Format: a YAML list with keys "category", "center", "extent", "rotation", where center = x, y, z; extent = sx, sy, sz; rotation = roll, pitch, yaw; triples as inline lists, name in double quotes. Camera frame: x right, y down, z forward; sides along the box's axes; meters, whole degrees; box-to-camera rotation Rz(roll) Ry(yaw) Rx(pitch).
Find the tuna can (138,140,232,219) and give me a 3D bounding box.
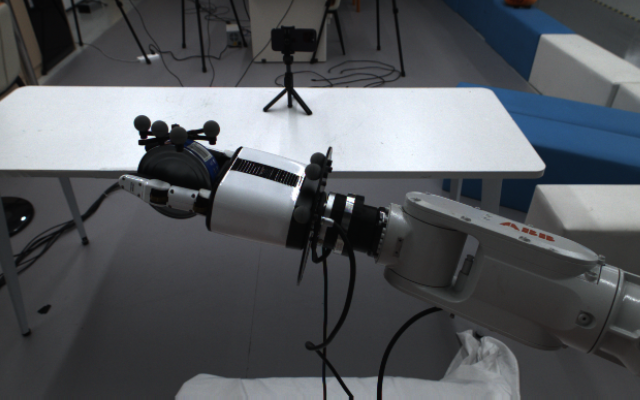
- category: "tuna can"
  center: [-0.153, -0.024, 0.538]
  extent: [0.085, 0.085, 0.034]
  rotation: [9, 22, 9]
